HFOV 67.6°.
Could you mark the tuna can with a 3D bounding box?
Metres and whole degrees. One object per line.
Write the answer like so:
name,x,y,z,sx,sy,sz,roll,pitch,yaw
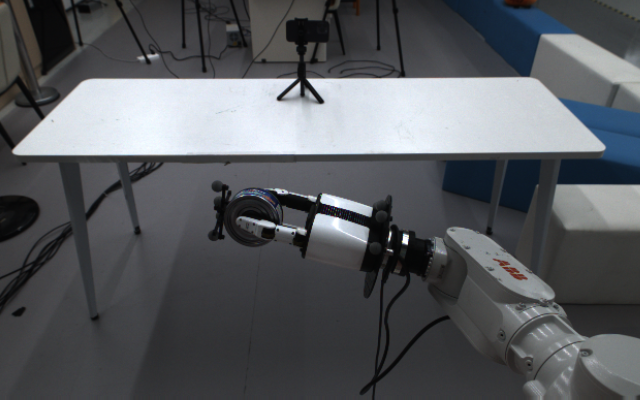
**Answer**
tuna can,-0.098,0.027,0.726,0.085,0.085,0.034,4,19,3
